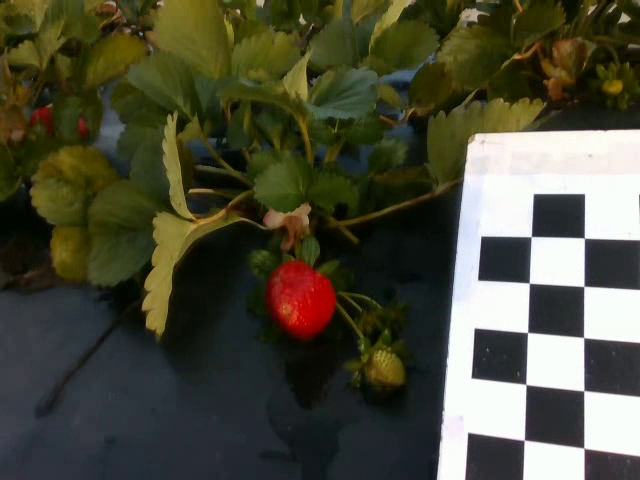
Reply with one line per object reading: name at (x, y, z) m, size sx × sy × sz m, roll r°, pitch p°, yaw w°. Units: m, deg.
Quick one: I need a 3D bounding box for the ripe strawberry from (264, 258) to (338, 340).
ripe strawberry at (-0.013, 0.037, 0.335) m, size 0.043 × 0.052 × 0.057 m, roll -25°, pitch -1°, yaw 14°
